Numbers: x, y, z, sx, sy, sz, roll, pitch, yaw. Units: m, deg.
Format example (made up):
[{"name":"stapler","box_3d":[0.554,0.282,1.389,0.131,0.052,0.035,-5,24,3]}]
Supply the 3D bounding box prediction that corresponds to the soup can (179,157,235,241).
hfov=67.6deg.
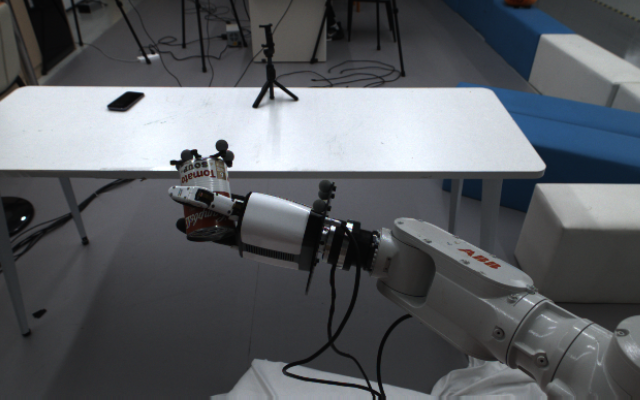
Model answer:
[{"name":"soup can","box_3d":[-0.155,0.001,0.667,0.067,0.067,0.101,-8,74,-14]}]
